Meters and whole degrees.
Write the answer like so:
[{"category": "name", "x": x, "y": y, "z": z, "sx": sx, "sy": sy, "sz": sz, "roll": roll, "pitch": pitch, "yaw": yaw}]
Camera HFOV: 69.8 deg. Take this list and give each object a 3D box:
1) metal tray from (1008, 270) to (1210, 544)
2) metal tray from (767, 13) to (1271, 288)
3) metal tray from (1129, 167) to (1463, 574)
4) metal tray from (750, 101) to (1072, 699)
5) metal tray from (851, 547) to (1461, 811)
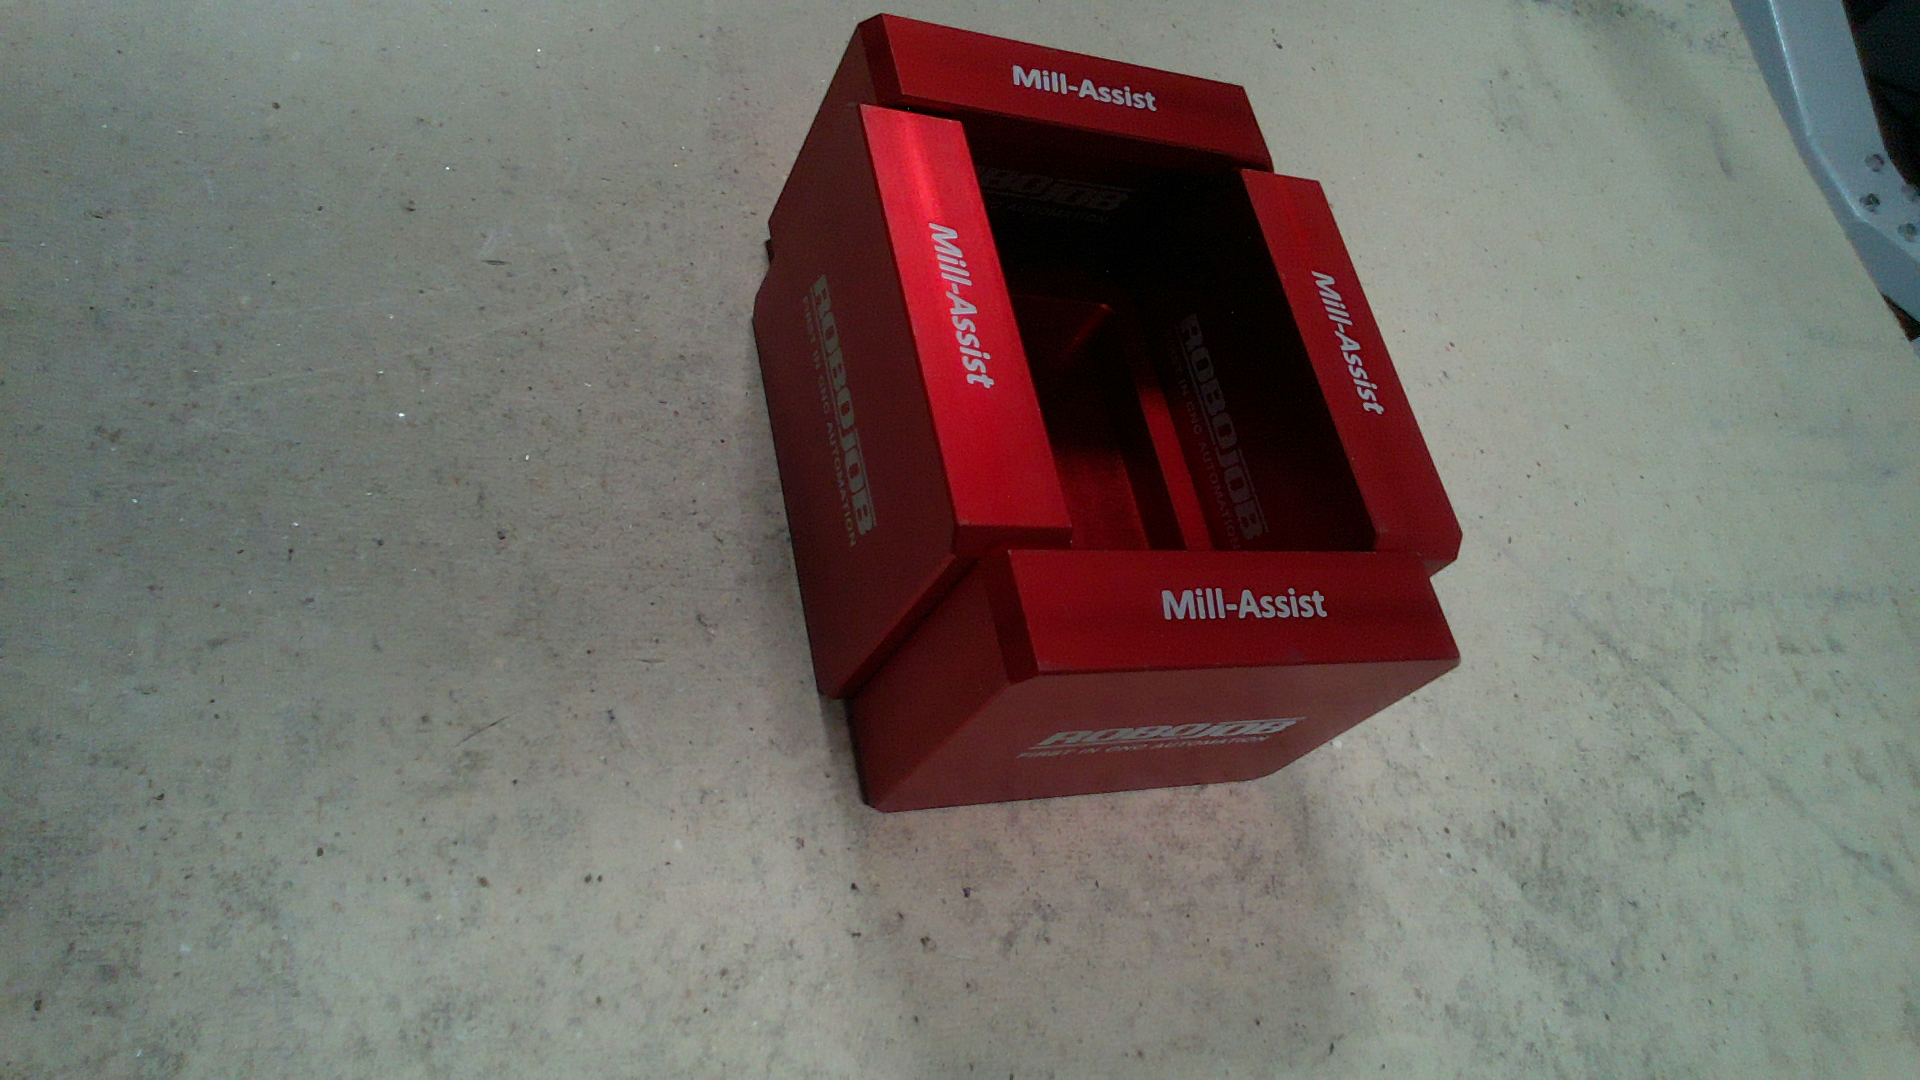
[{"category": "metal tray", "x": 0.022, "y": -0.020, "z": 0.411, "sx": 0.090, "sy": 0.030, "sz": 0.130, "roll": 1, "pitch": 61, "yaw": -28}, {"category": "metal tray", "x": 0.017, "y": -0.105, "z": 0.421, "sx": 0.130, "sy": 0.090, "sz": 0.030, "roll": 1, "pitch": 61, "yaw": -28}, {"category": "metal tray", "x": 0.089, "y": -0.034, "z": 0.416, "sx": 0.030, "sy": 0.090, "sz": 0.130, "roll": 1, "pitch": 61, "yaw": -28}, {"category": "metal tray", "x": -0.019, "y": -0.035, "z": 0.359, "sx": 0.030, "sy": 0.090, "sz": 0.130, "roll": 1, "pitch": 61, "yaw": -28}, {"category": "metal tray", "x": 0.049, "y": 0.036, "z": 0.351, "sx": 0.130, "sy": 0.090, "sz": 0.030, "roll": 1, "pitch": 61, "yaw": -28}]
